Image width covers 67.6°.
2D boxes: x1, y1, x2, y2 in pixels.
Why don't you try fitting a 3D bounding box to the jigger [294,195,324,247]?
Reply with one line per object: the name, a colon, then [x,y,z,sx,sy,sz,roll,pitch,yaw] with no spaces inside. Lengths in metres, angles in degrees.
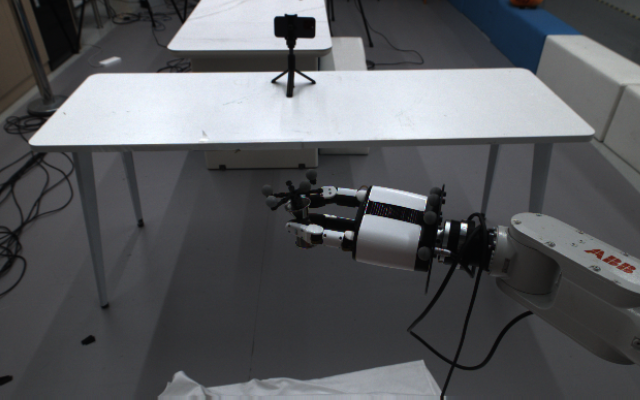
jigger: [-0.024,0.034,0.727,0.043,0.071,0.043,-12,29,7]
